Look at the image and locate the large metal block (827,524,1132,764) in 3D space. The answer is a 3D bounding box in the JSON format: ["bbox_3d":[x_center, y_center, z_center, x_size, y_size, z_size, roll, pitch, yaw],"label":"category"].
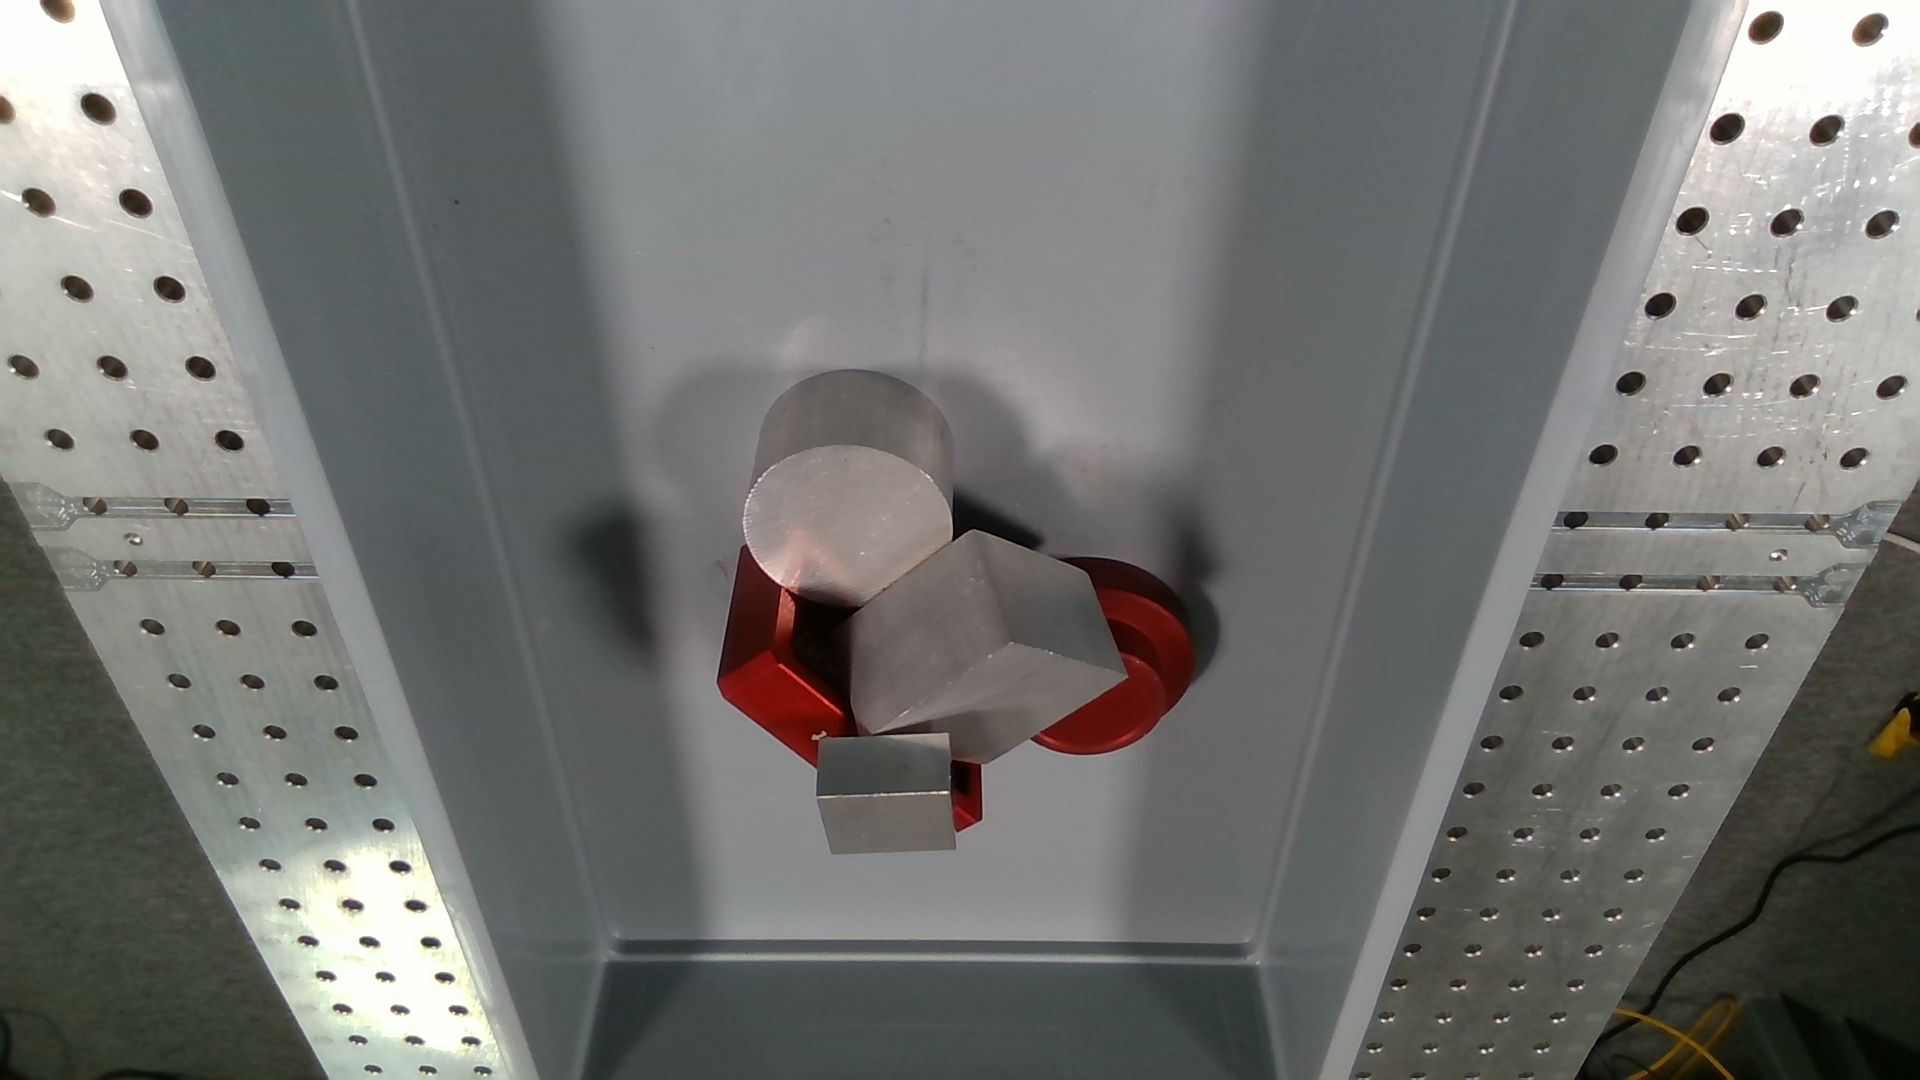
[{"bbox_3d":[0.008,0.045,0.553,0.080,0.050,0.080,-36,146,26],"label":"large metal block"}]

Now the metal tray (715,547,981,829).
[{"bbox_3d":[-0.043,0.061,0.586,0.030,0.090,0.130,-32,123,23],"label":"metal tray"}]

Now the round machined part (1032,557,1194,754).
[{"bbox_3d":[0.056,0.058,0.615,0.098,0.042,0.098,0,130,0],"label":"round machined part"}]

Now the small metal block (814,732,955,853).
[{"bbox_3d":[-0.028,0.099,0.537,0.050,0.025,0.050,-2,143,1],"label":"small metal block"}]

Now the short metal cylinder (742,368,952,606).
[{"bbox_3d":[-0.043,-0.020,0.544,0.080,0.050,0.080,0,130,0],"label":"short metal cylinder"}]
